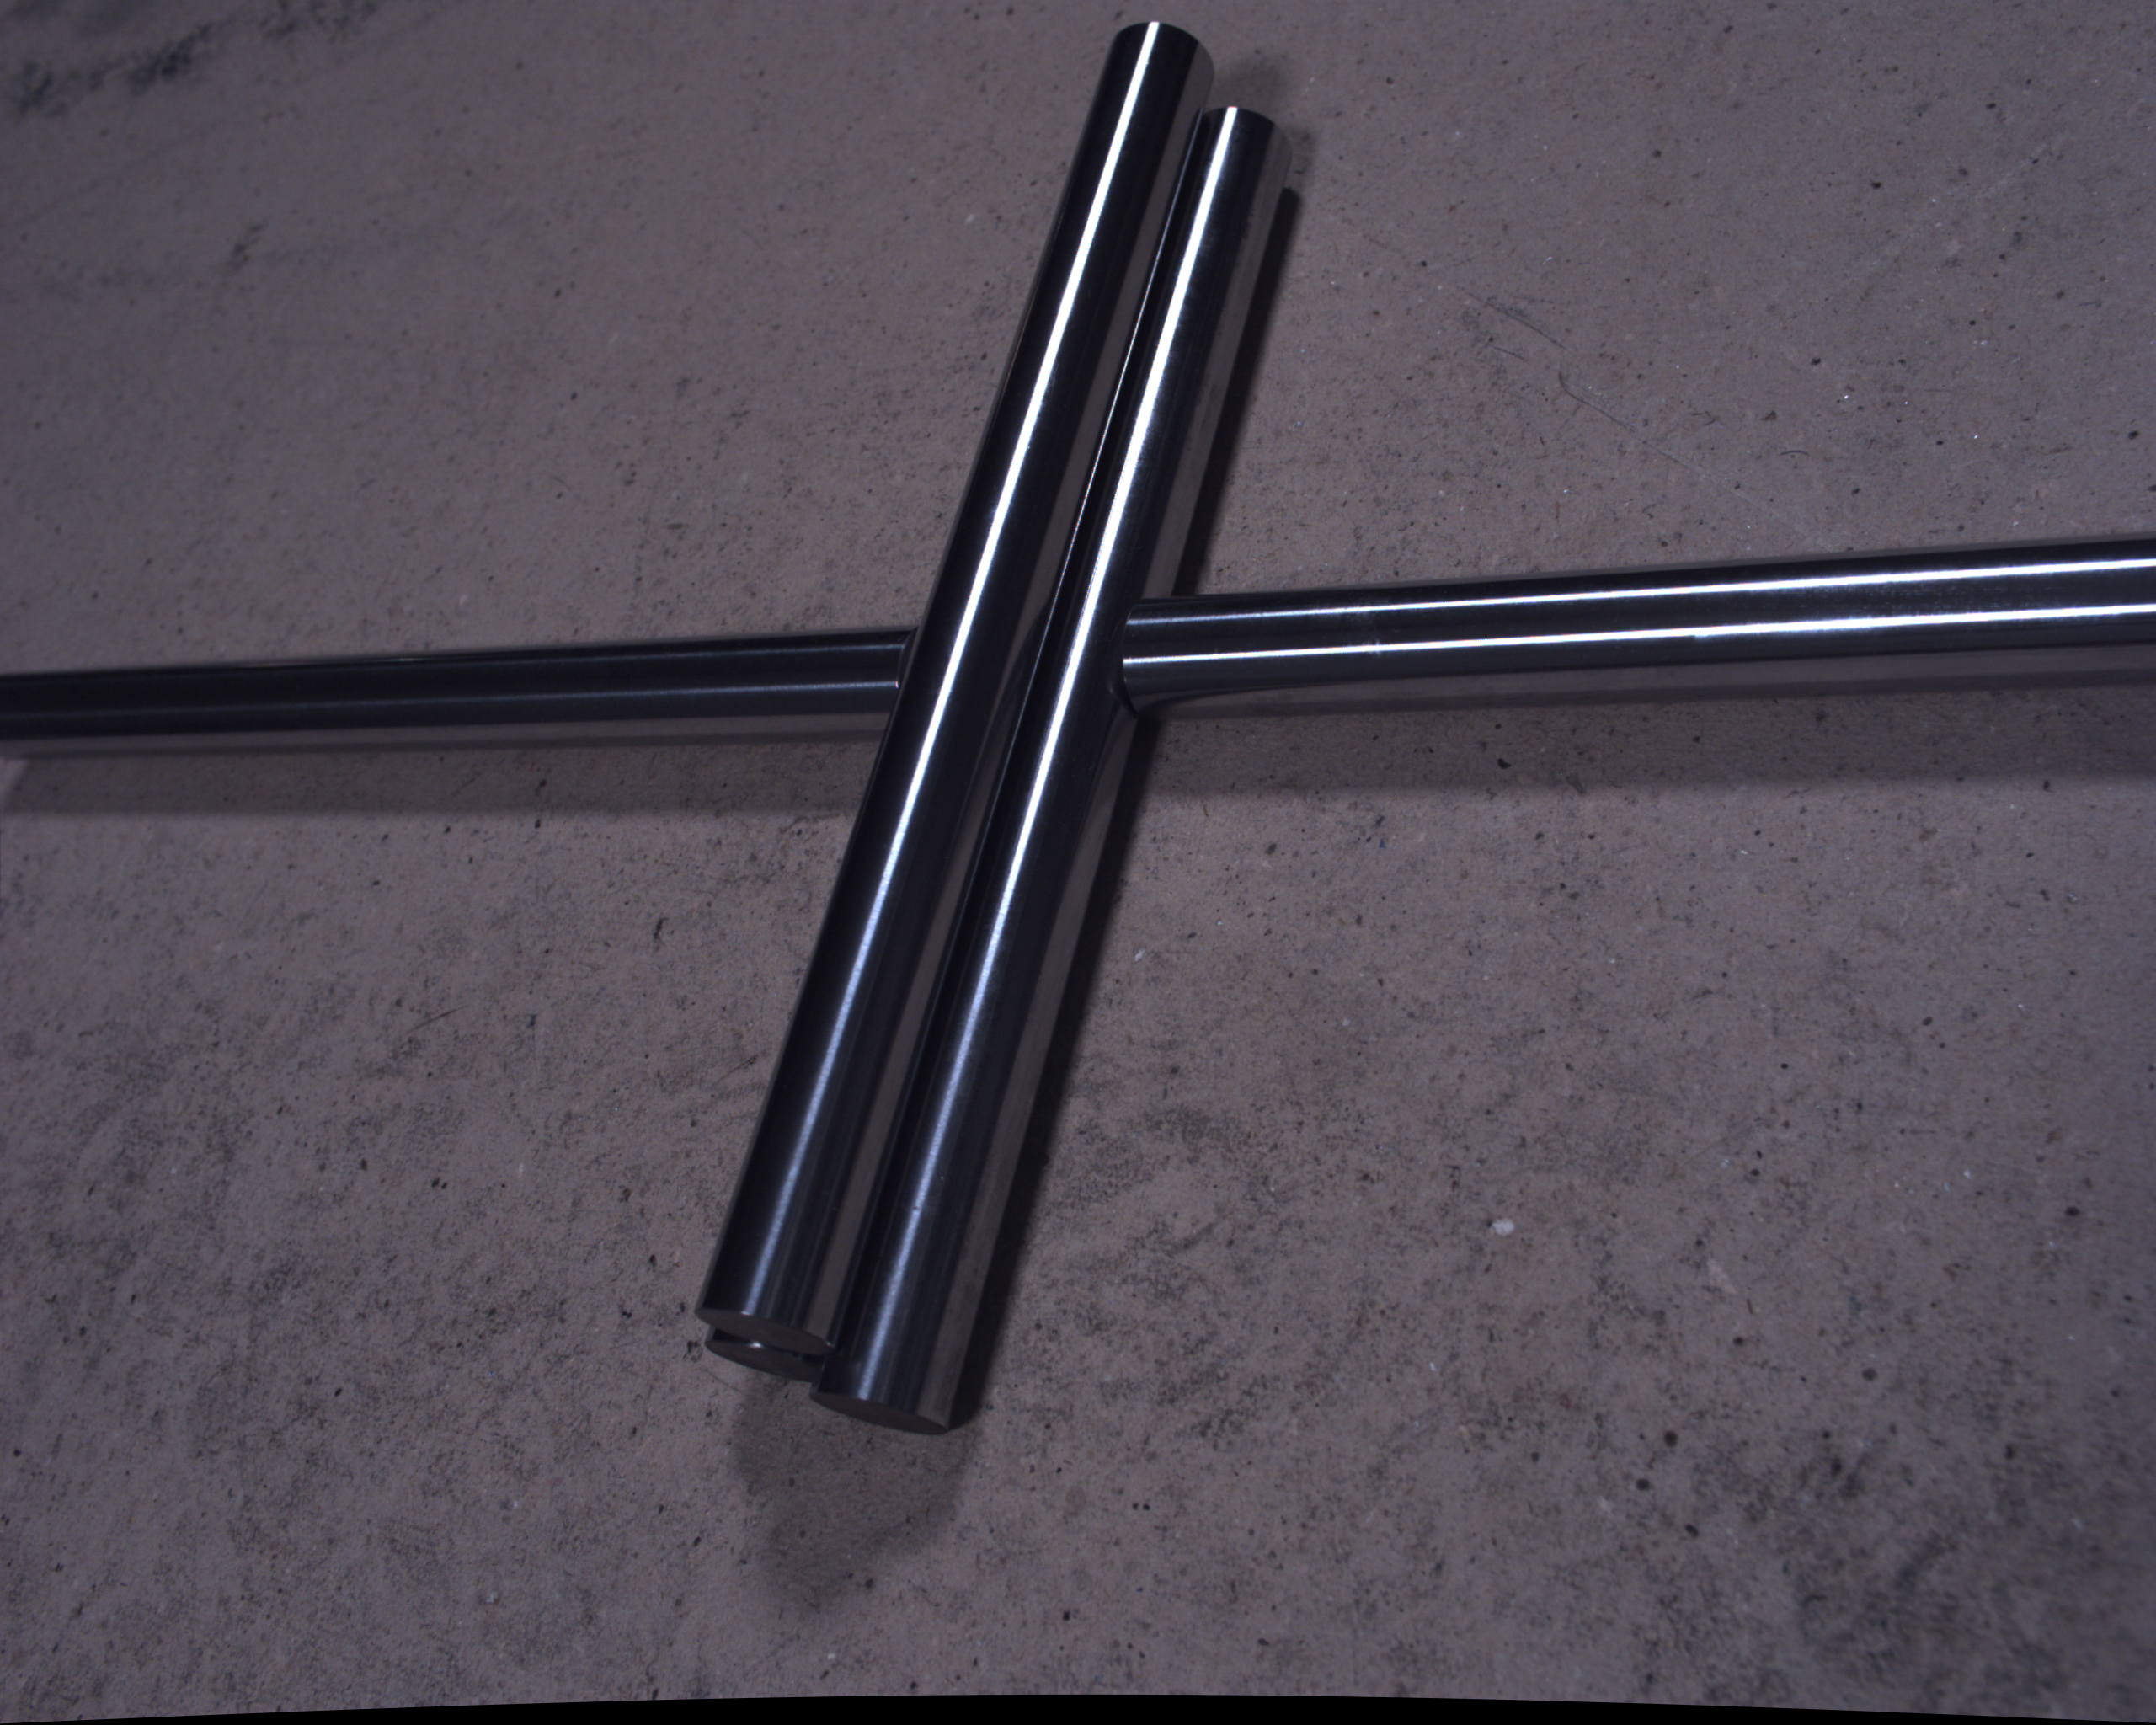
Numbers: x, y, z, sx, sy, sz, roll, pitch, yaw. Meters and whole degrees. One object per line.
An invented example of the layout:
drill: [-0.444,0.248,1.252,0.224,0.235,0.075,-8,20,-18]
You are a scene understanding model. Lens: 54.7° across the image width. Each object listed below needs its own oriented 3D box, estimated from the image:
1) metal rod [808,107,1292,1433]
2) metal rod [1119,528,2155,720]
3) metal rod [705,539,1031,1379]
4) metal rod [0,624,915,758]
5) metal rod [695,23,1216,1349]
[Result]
metal rod: [0.001,-0.036,0.426,0.025,0.025,0.300,1,62,28]
metal rod: [0.147,-0.042,0.353,0.300,0.025,0.025,0,62,27]
metal rod: [-0.019,-0.041,0.440,0.025,0.025,0.300,1,62,28]
metal rod: [-0.164,-0.040,0.513,0.300,0.025,0.025,1,62,28]
metal rod: [-0.017,-0.052,0.419,0.025,0.025,0.300,1,62,28]
